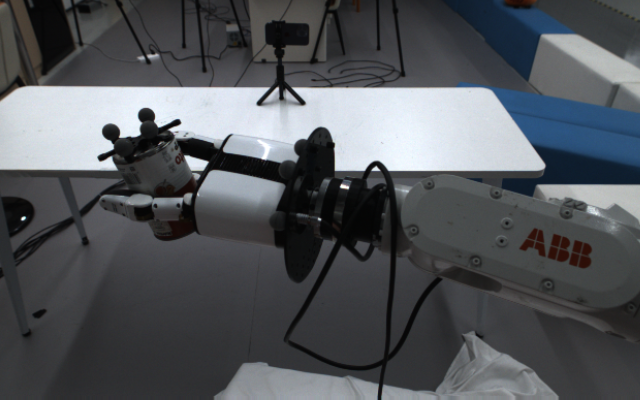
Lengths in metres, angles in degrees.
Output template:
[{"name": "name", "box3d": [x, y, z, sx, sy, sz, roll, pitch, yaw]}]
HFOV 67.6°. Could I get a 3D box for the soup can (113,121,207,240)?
[{"name": "soup can", "box3d": [-0.168, -0.015, 0.524, 0.067, 0.101, 0.067, -13, 31, 8]}]
